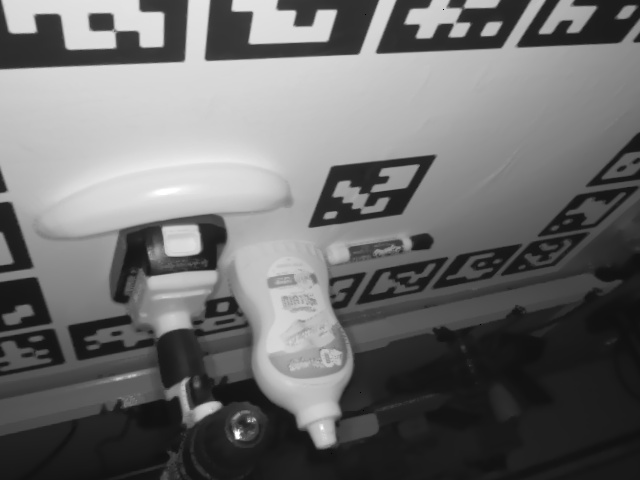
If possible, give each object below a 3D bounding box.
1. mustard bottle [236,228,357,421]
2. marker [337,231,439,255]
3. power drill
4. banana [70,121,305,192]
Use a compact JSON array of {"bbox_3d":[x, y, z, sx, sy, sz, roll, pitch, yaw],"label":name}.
[{"bbox_3d":[-0.016,0.079,0.661,0.097,0.192,0.057,3,143,-29],"label":"mustard bottle"},{"bbox_3d":[0.077,0.003,0.760,0.122,0.020,0.019,-4,145,-23],"label":"marker"},{"bbox_3d":[-0.095,0.064,0.564,0.058,0.187,0.181,5,144,-30],"label":"power drill"},{"bbox_3d":[-0.092,-0.065,0.551,0.200,0.039,0.073,-2,143,-29],"label":"banana"}]
